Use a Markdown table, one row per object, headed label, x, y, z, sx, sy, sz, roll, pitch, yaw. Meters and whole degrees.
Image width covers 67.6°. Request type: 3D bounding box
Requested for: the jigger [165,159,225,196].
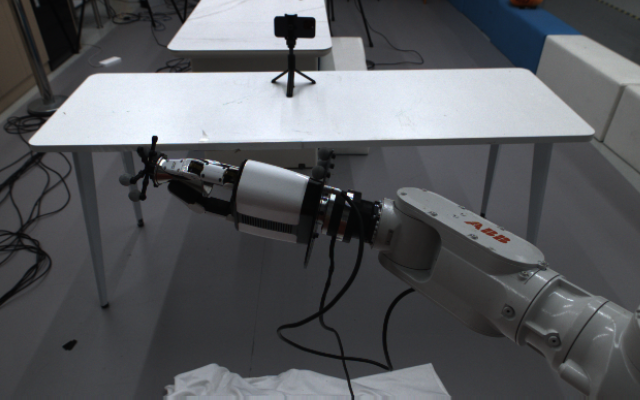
| label | x | y | z | sx | sy | sz | roll | pitch | yaw |
| --- | --- | --- | --- | --- | --- | --- | --- | --- | --- |
| jigger | -0.173 | -0.035 | 0.644 | 0.071 | 0.043 | 0.043 | 12 | 36 | 4 |
